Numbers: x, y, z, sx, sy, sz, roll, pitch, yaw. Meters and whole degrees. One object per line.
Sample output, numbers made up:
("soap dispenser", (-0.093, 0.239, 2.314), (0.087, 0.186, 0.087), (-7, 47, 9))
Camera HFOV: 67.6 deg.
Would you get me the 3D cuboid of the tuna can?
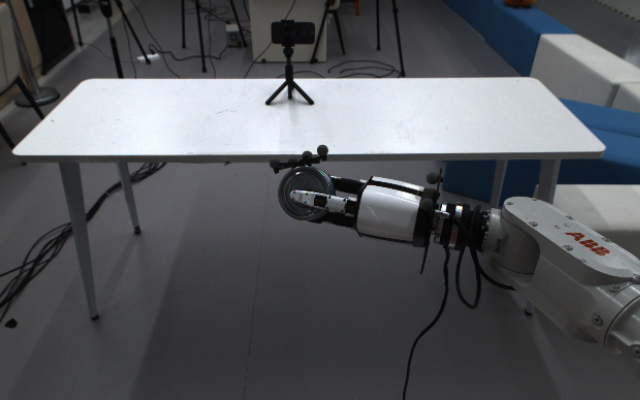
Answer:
("tuna can", (-0.018, -0.005, 0.746), (0.085, 0.085, 0.034), (12, 3, 14))
